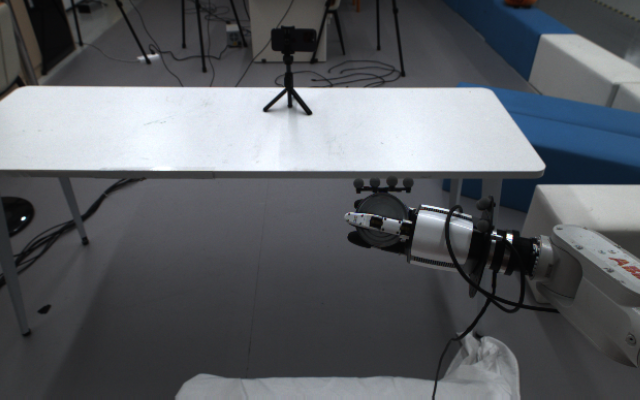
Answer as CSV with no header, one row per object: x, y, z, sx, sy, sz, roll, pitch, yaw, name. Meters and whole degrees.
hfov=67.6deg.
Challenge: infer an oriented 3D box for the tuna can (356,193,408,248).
0.100,0.030,0.770,0.085,0.085,0.034,15,2,18,tuna can
